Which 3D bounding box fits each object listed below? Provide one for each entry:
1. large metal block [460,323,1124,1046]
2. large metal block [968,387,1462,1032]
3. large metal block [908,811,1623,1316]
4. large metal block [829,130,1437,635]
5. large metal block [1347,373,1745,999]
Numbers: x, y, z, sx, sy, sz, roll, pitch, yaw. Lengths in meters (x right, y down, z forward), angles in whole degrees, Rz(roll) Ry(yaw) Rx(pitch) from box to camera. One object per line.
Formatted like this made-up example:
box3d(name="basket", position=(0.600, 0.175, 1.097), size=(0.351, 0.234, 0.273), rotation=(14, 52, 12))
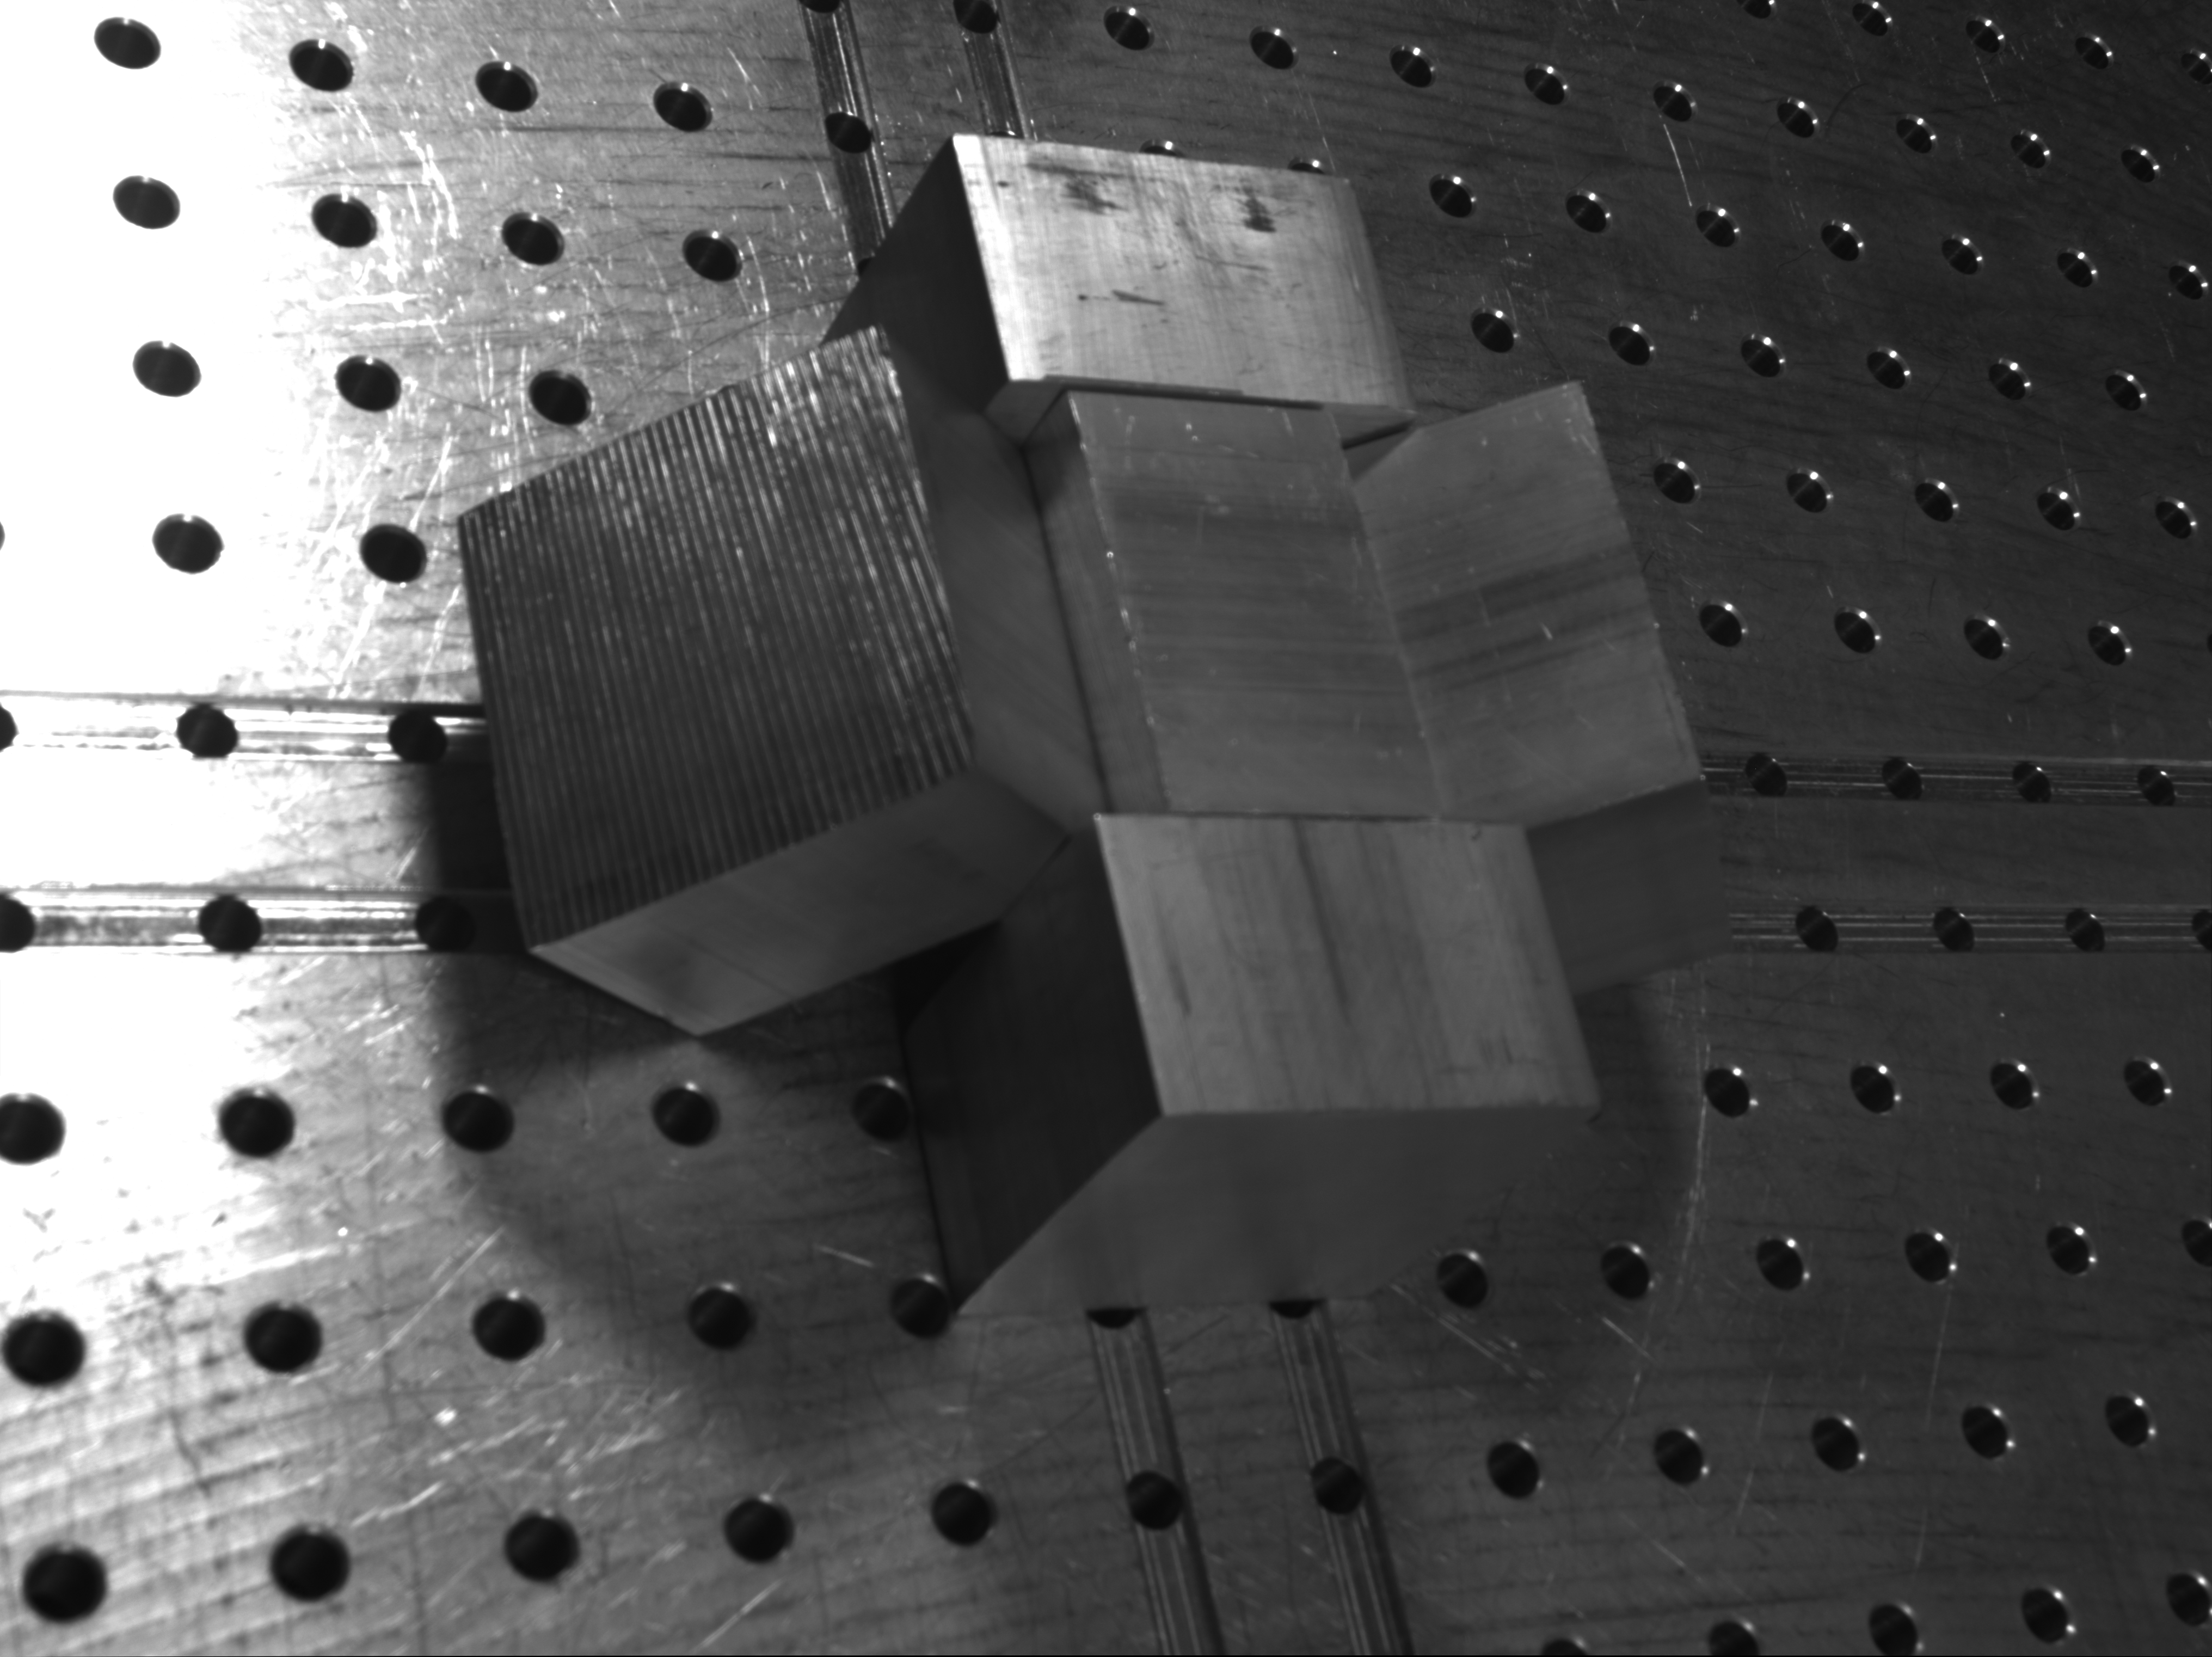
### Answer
box3d(name="large metal block", position=(-0.051, -0.021, 0.585), size=(0.050, 0.080, 0.080), rotation=(36, 36, -59))
box3d(name="large metal block", position=(0.010, -0.017, 0.622), size=(0.050, 0.080, 0.080), rotation=(1, 61, -28))
box3d(name="large metal block", position=(0.024, 0.039, 0.595), size=(0.080, 0.080, 0.050), rotation=(1, 61, -28))
box3d(name="large metal block", position=(0.000, -0.075, 0.652), size=(0.080, 0.080, 0.050), rotation=(1, 61, -28))
box3d(name="large metal block", position=(0.075, -0.020, 0.649), size=(0.050, 0.080, 0.080), rotation=(-16, 64, 6))
